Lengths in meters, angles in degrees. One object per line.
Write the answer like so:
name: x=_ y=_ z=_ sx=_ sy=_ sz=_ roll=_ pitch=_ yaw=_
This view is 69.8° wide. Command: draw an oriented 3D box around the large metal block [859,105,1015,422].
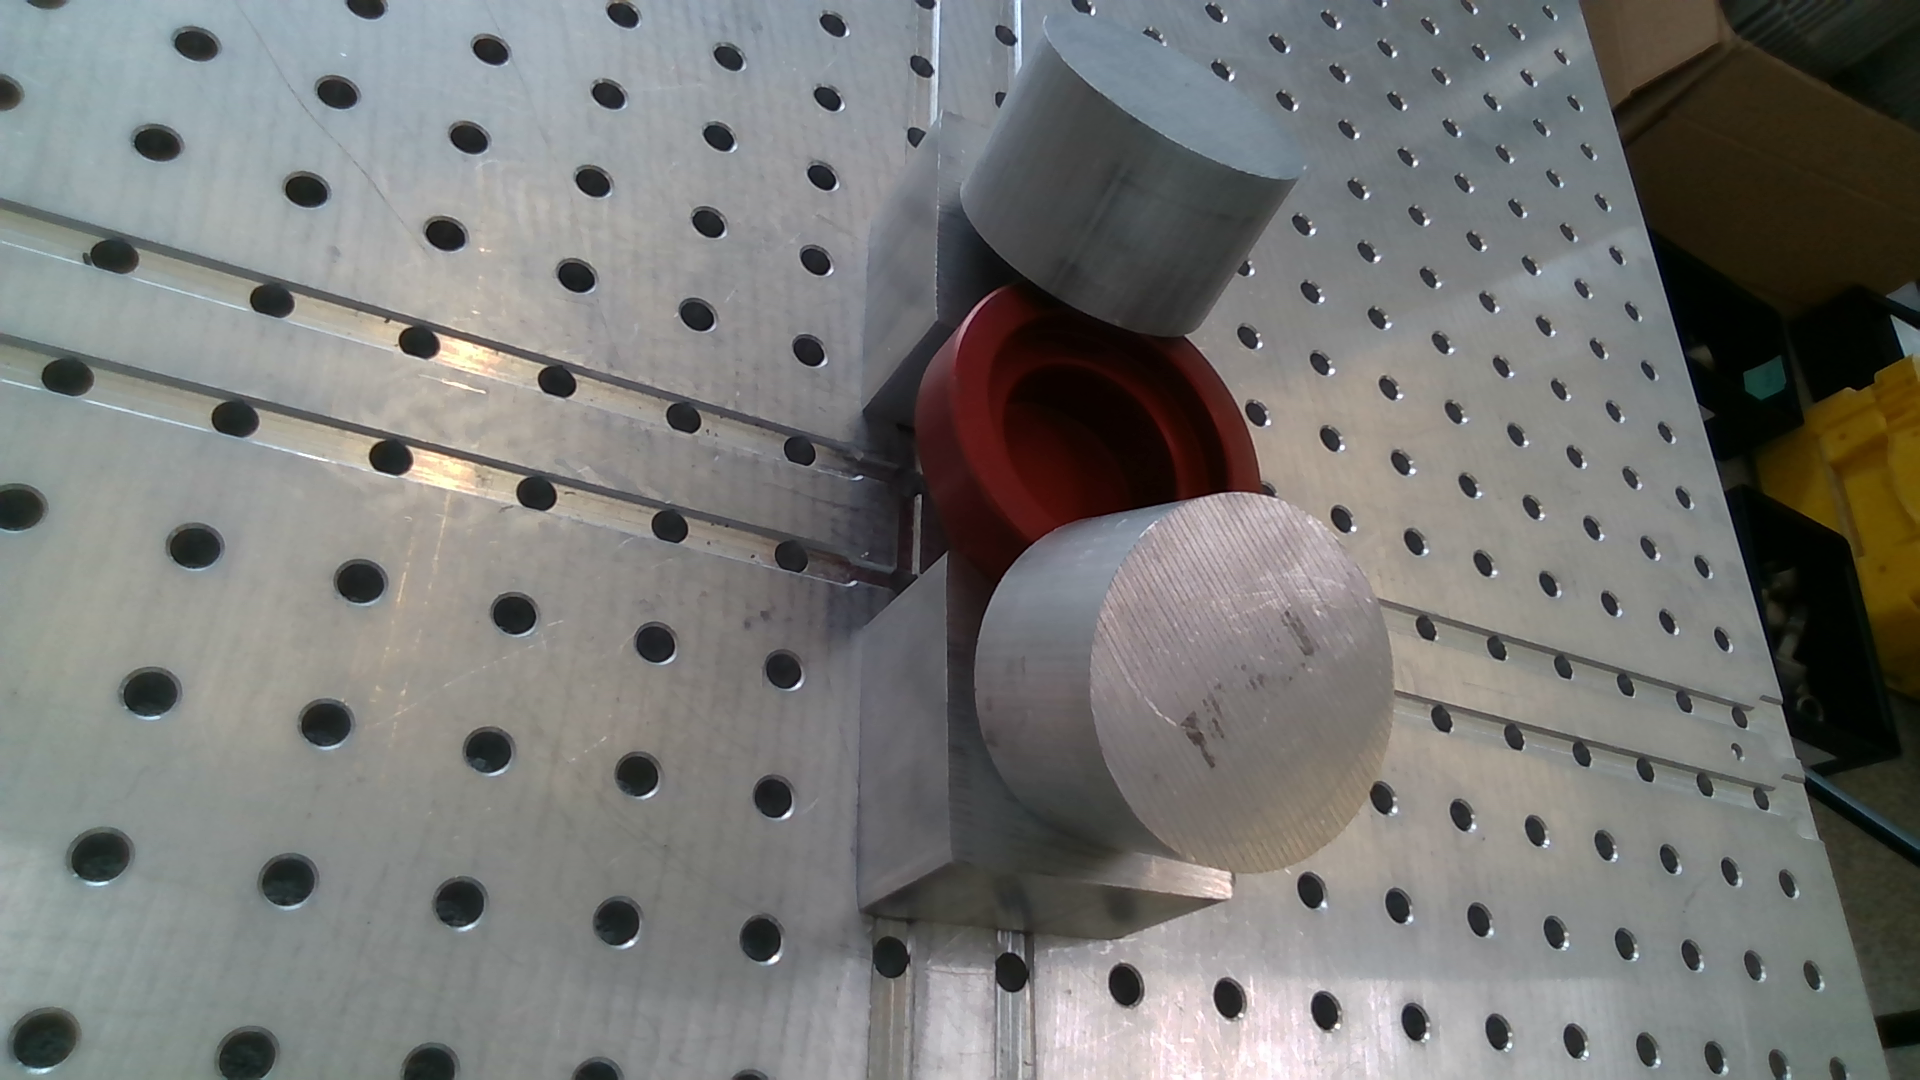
large metal block: x=0.017 y=-0.076 z=0.431 sx=0.080 sy=0.050 sz=0.080 roll=15 pitch=58 yaw=-25

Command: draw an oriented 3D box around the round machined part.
round machined part: x=0.031 y=-0.021 z=0.378 sx=0.098 sy=0.042 sz=0.098 roll=14 pitch=59 yaw=-25

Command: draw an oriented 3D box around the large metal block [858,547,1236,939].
large metal block: x=0.021 y=0.056 z=0.363 sx=0.080 sy=0.050 sz=0.080 roll=13 pitch=59 yaw=-25

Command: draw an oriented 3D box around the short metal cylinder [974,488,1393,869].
short metal cylinder: x=0.050 y=0.031 z=0.313 sx=0.080 sy=0.050 sz=0.080 roll=3 pitch=84 yaw=-27

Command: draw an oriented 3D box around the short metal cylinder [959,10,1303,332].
short metal cylinder: x=0.047 y=-0.103 z=0.382 sx=0.080 sy=0.050 sz=0.080 roll=21 pitch=35 yaw=-15
